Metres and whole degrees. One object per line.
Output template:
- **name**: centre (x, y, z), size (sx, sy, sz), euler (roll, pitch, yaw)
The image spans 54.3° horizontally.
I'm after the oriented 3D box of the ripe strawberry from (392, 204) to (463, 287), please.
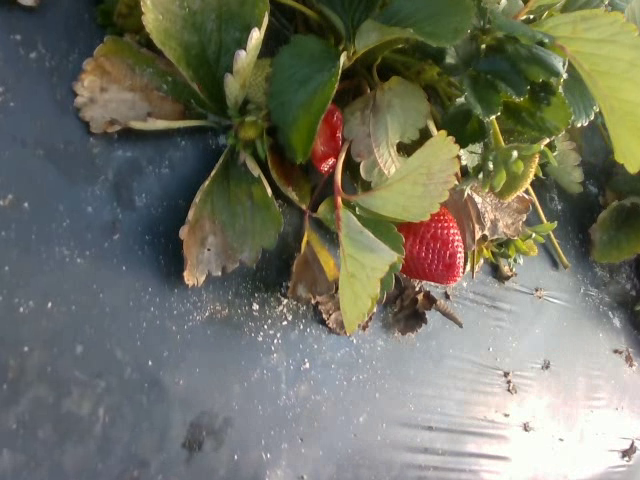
- **ripe strawberry**: centre (0.038, 0.004, 0.219), size (0.031, 0.030, 0.026), euler (-28, -9, -29)
